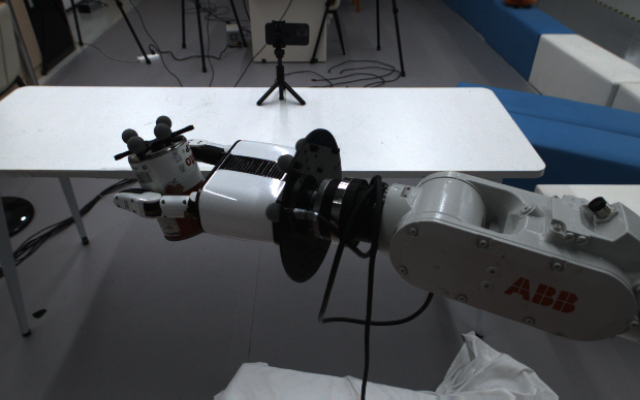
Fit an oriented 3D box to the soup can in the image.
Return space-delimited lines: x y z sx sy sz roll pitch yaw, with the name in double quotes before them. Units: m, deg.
"soup can" -0.162 -0.013 0.548 0.067 0.101 0.067 -16 23 7
